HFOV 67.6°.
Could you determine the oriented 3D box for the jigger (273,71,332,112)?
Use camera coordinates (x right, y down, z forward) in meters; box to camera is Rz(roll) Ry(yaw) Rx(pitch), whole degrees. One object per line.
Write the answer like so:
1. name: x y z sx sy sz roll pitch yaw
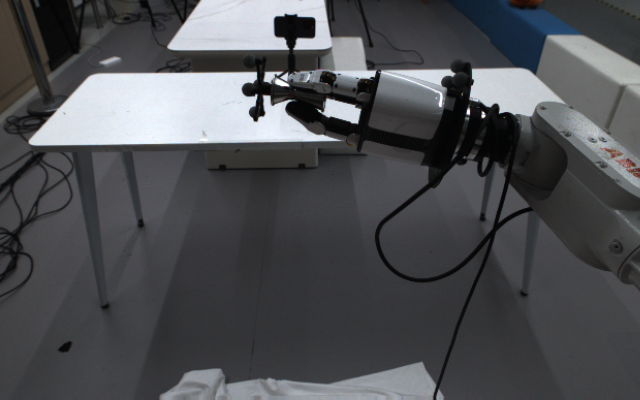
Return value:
1. jigger: -0.020 -0.143 0.629 0.071 0.043 0.043 6 35 2
